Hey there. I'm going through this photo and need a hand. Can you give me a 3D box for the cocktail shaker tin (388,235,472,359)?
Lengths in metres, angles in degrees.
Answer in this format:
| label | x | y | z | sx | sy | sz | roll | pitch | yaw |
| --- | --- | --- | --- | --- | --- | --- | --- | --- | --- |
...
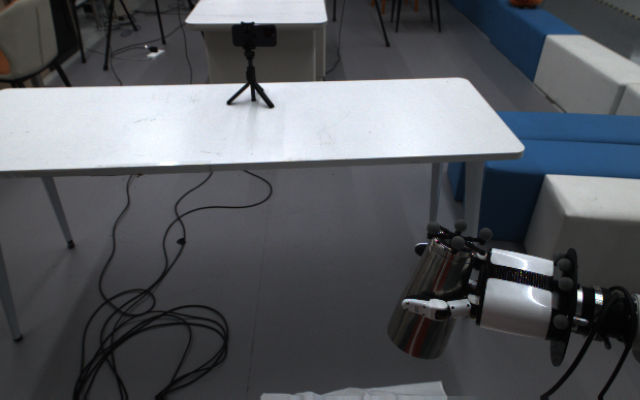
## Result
| label | x | y | z | sx | sy | sz | roll | pitch | yaw |
| --- | --- | --- | --- | --- | --- | --- | --- | --- | --- |
| cocktail shaker tin | 0.168 | 0.130 | 0.701 | 0.093 | 0.170 | 0.093 | 12 | 24 | -5 |
